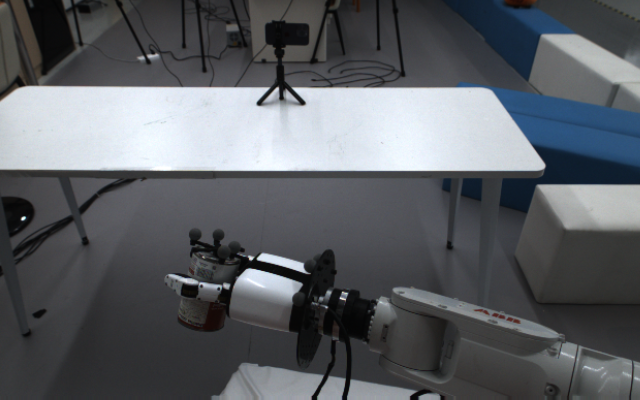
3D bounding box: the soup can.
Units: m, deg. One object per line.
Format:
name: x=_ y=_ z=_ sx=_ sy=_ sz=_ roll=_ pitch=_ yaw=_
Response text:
soup can: x=-0.153 y=0.124 z=0.673 sx=0.067 sy=0.101 sz=0.067 roll=15 pitch=7 yaw=-2
